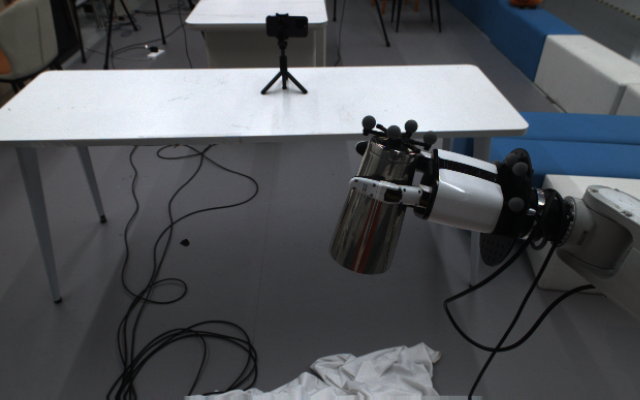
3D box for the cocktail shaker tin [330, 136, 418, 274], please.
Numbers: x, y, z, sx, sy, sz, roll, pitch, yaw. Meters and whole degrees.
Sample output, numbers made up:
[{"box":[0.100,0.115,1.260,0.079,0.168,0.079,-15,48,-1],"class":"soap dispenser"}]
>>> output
[{"box":[0.079,0.001,0.652,0.093,0.170,0.093,12,25,-6],"class":"cocktail shaker tin"}]
